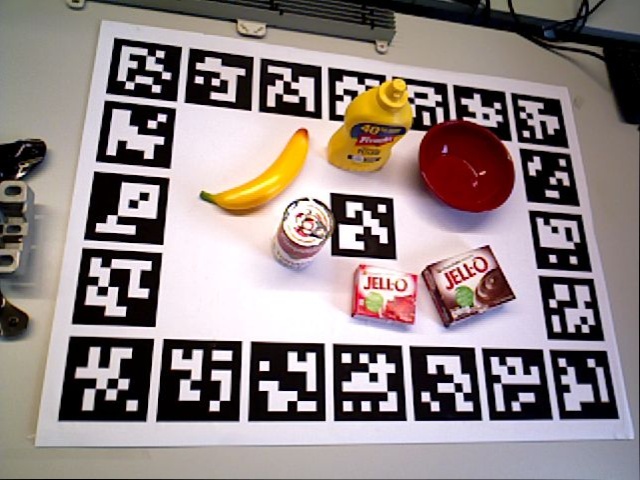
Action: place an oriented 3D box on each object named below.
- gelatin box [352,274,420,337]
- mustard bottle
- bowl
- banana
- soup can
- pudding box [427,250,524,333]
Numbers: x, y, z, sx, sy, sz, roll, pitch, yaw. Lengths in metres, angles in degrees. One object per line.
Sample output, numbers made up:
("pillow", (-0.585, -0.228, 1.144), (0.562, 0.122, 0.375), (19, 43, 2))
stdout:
("gelatin box", (0.092, 0.091, 0.755), (0.089, 0.030, 0.072), (10, 71, -9))
("mustard bottle", (0.084, -0.163, 0.746), (0.095, 0.195, 0.058), (5, 65, -13))
("bowl", (0.229, -0.104, 0.849), (0.160, 0.056, 0.160), (4, 68, -10))
("banana", (-0.079, -0.103, 0.782), (0.074, 0.039, 0.194), (39, 66, 14))
("soup can", (-0.027, -0.011, 0.715), (0.067, 0.104, 0.067), (6, 66, -14))
("pudding box", (0.224, 0.073, 0.788), (0.112, 0.039, 0.090), (-20, 81, -19))
